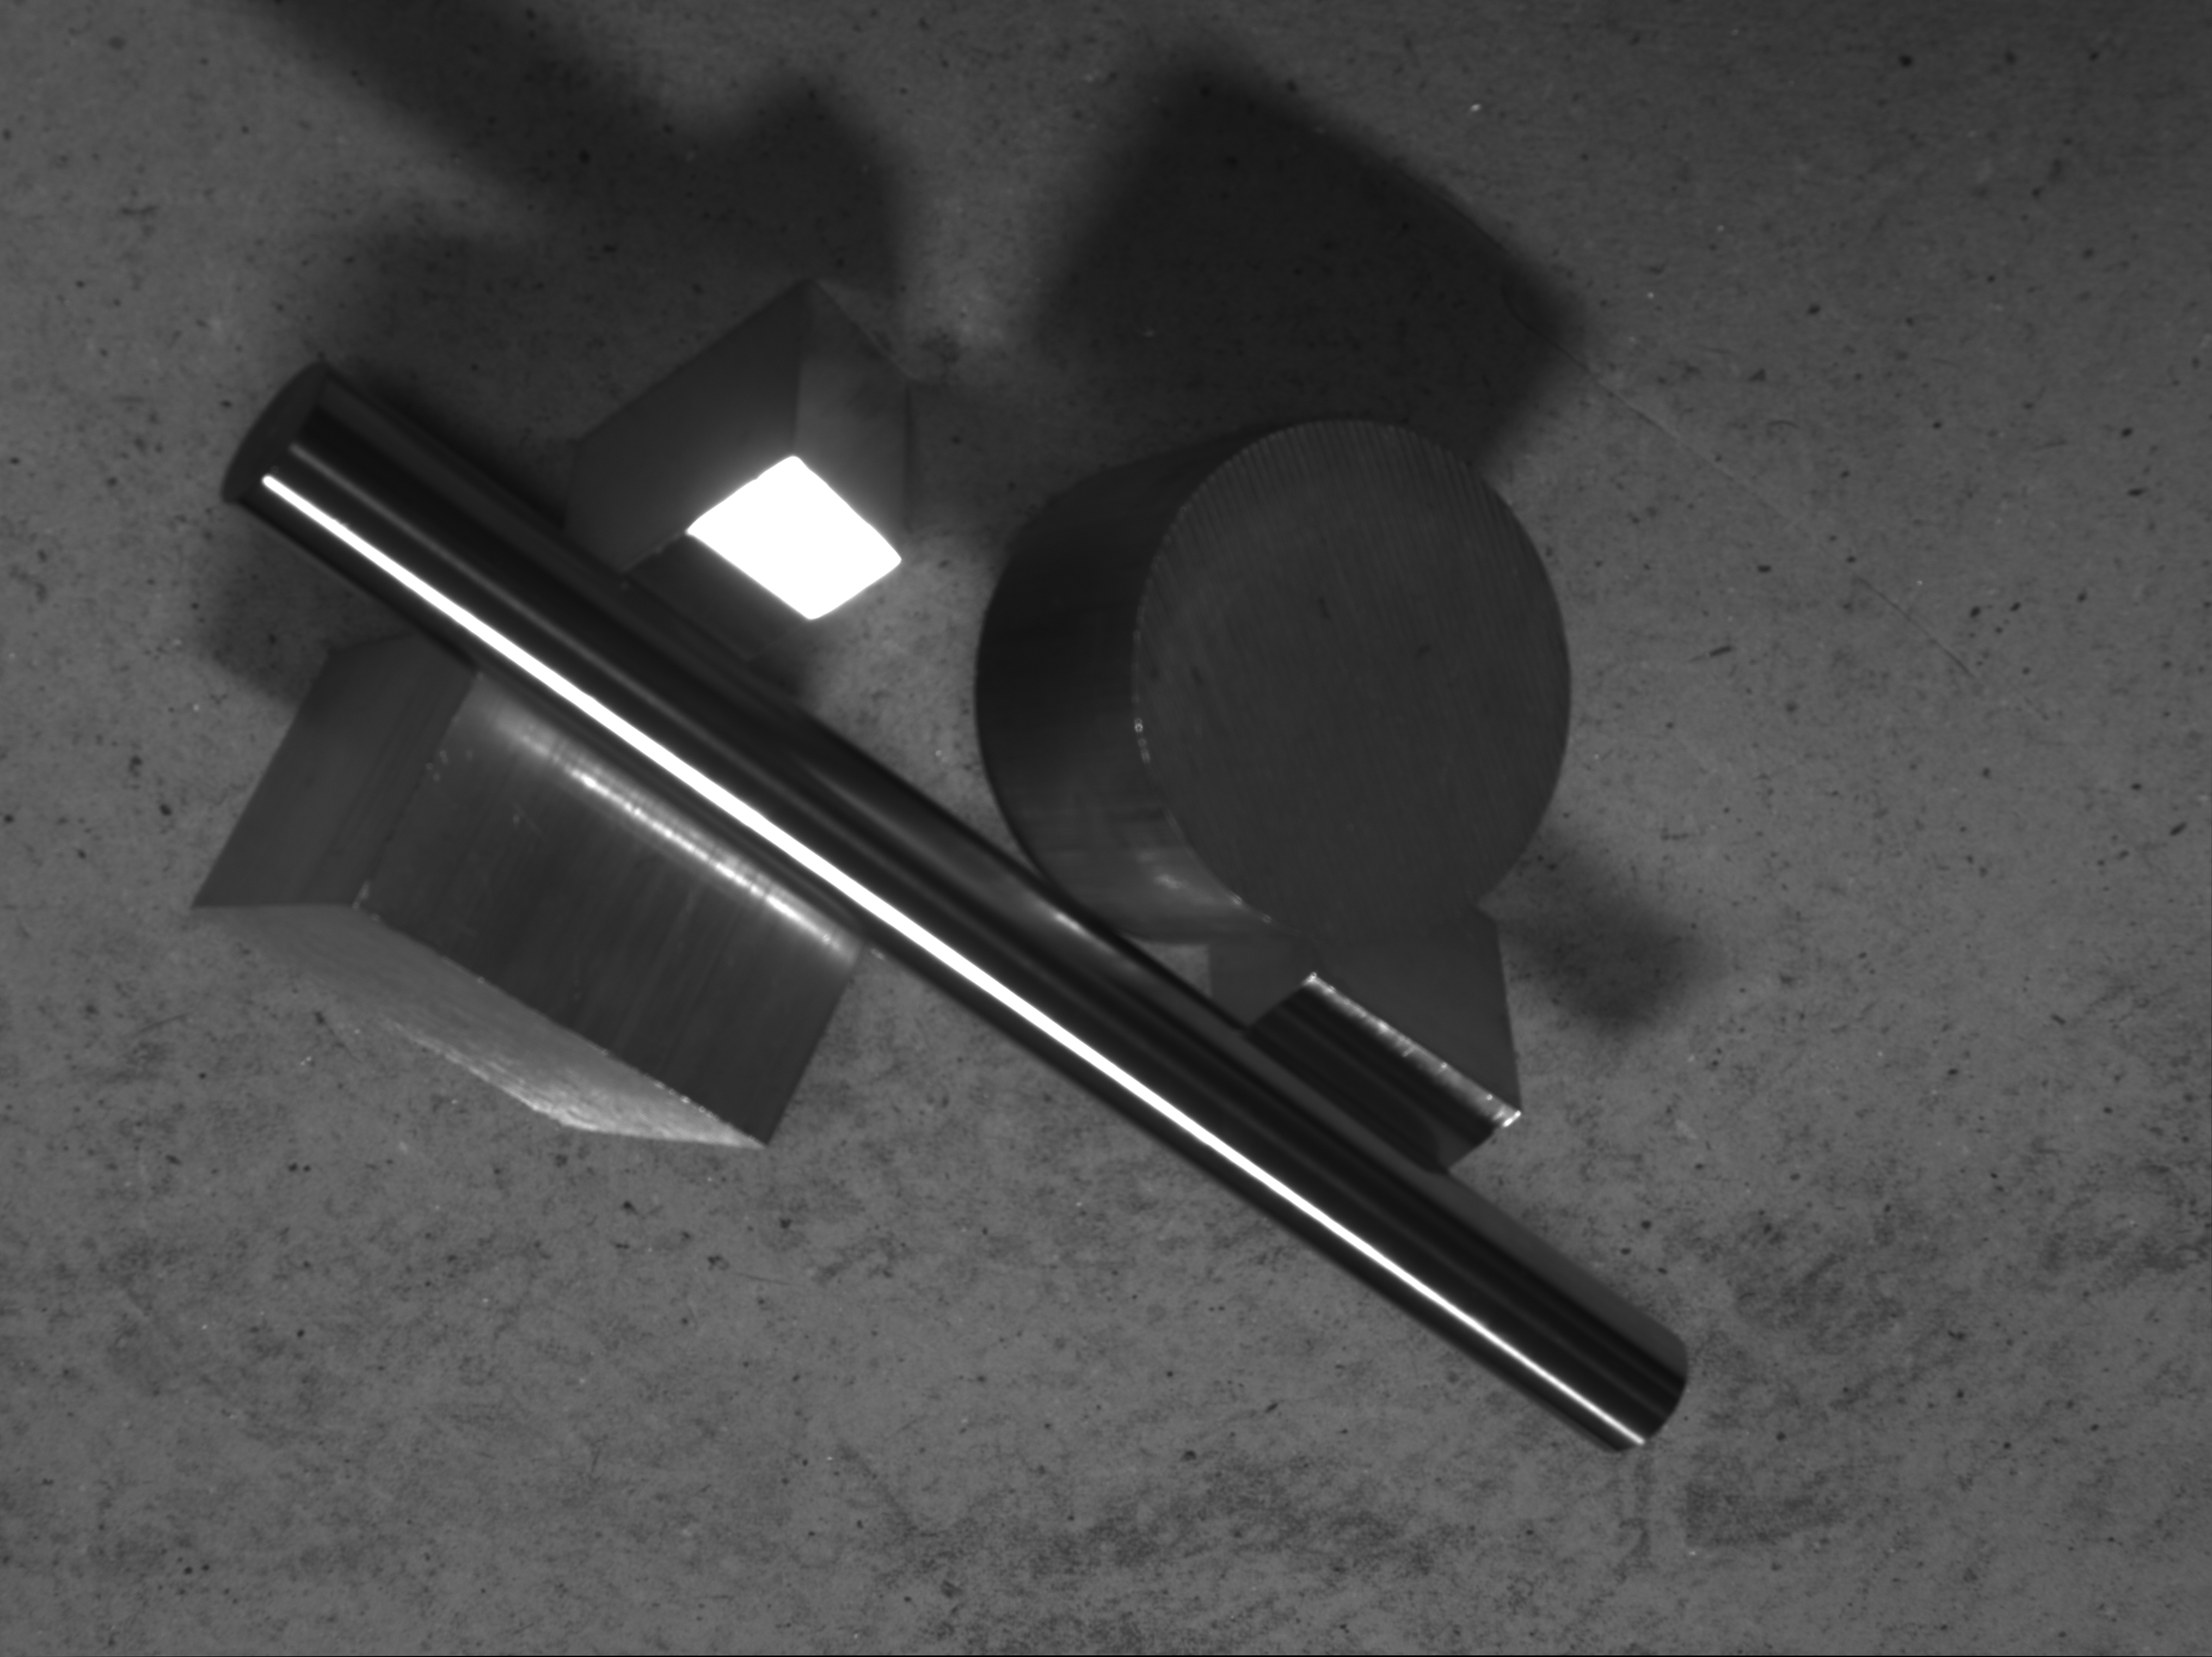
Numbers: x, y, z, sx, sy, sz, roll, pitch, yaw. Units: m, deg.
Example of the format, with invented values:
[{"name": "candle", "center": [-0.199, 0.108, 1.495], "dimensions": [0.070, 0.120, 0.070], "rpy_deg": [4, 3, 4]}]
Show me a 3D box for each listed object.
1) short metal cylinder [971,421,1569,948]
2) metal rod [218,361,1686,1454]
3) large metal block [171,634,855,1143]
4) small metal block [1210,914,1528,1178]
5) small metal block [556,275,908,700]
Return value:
[{"name": "short metal cylinder", "center": [0.026, -0.021, 0.578], "dimensions": [0.080, 0.080, 0.050], "rpy_deg": [32, 163, -25]}, {"name": "metal rod", "center": [-0.012, 0.023, 0.592], "dimensions": [0.301, 0.025, 0.025], "rpy_deg": [36, 120, -28]}, {"name": "large metal block", "center": [-0.096, 0.009, 0.604], "dimensions": [0.080, 0.050, 0.080], "rpy_deg": [33, 162, -26]}, {"name": "small metal block", "center": [0.045, 0.030, 0.645], "dimensions": [0.050, 0.050, 0.025], "rpy_deg": [34, 121, -26]}, {"name": "small metal block", "center": [-0.059, -0.052, 0.577], "dimensions": [0.050, 0.050, 0.025], "rpy_deg": [-31, 124, 22]}]
